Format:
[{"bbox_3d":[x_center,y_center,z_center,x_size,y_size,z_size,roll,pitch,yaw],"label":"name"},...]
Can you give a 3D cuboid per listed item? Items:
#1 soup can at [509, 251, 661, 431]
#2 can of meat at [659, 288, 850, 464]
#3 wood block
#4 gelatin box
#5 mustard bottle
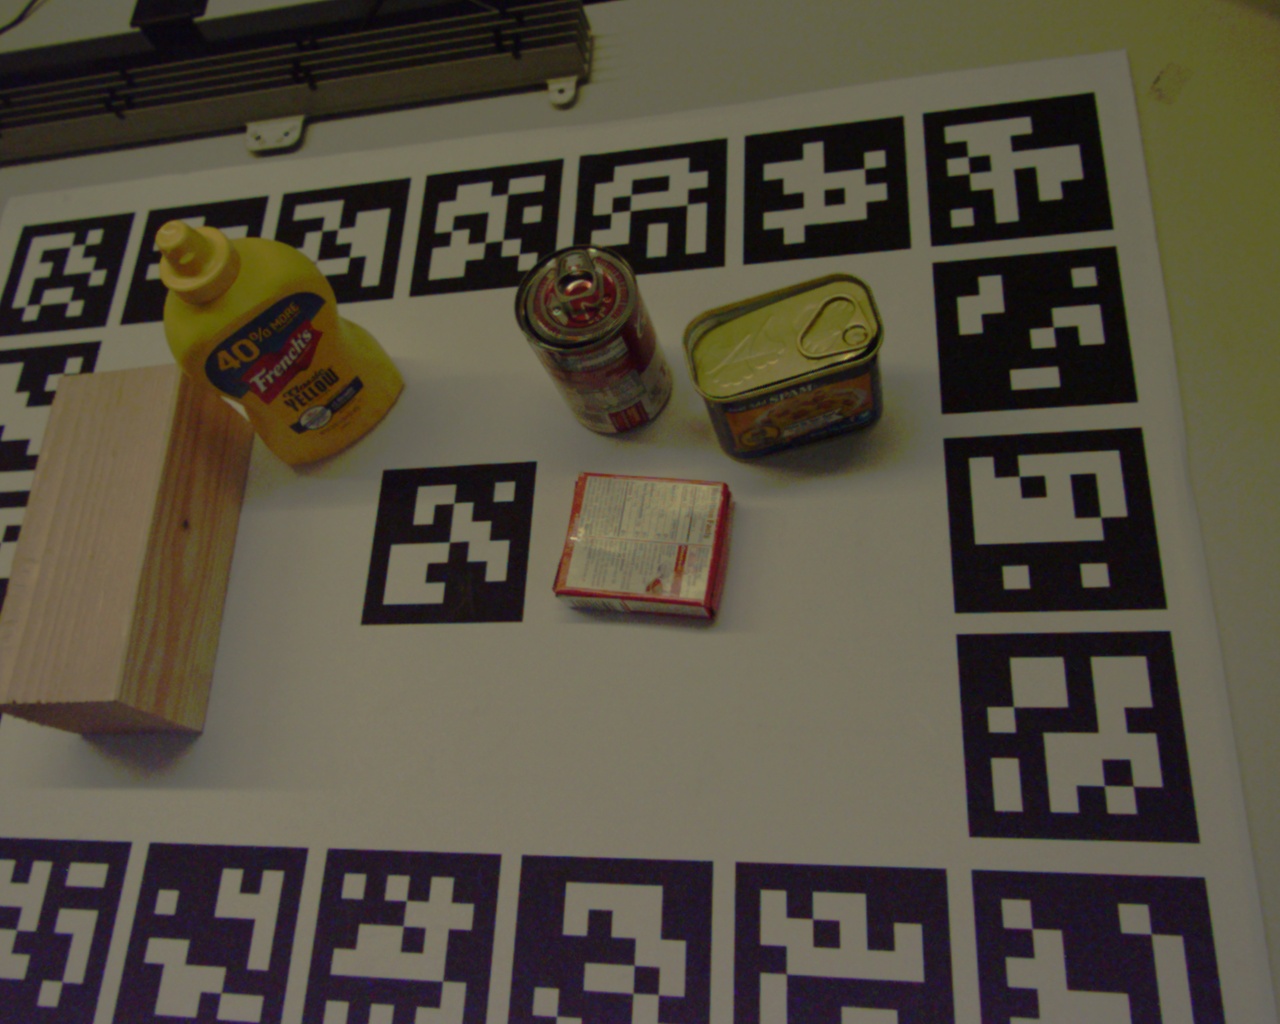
[{"bbox_3d":[-0.029,-0.098,0.676,0.068,0.101,0.068,-5,68,13],"label":"soup can"},{"bbox_3d":[0.069,-0.075,0.661,0.102,0.083,0.058,-15,66,5],"label":"can of meat"},{"bbox_3d":[-0.316,0.026,0.717,0.091,0.089,0.207,-2,63,12],"label":"wood block"},{"bbox_3d":[-0.005,0.024,0.663,0.090,0.030,0.073,6,72,20],"label":"gelatin box"},{"bbox_3d":[-0.226,-0.093,0.692,0.096,0.190,0.059,-26,64,1],"label":"mustard bottle"}]
